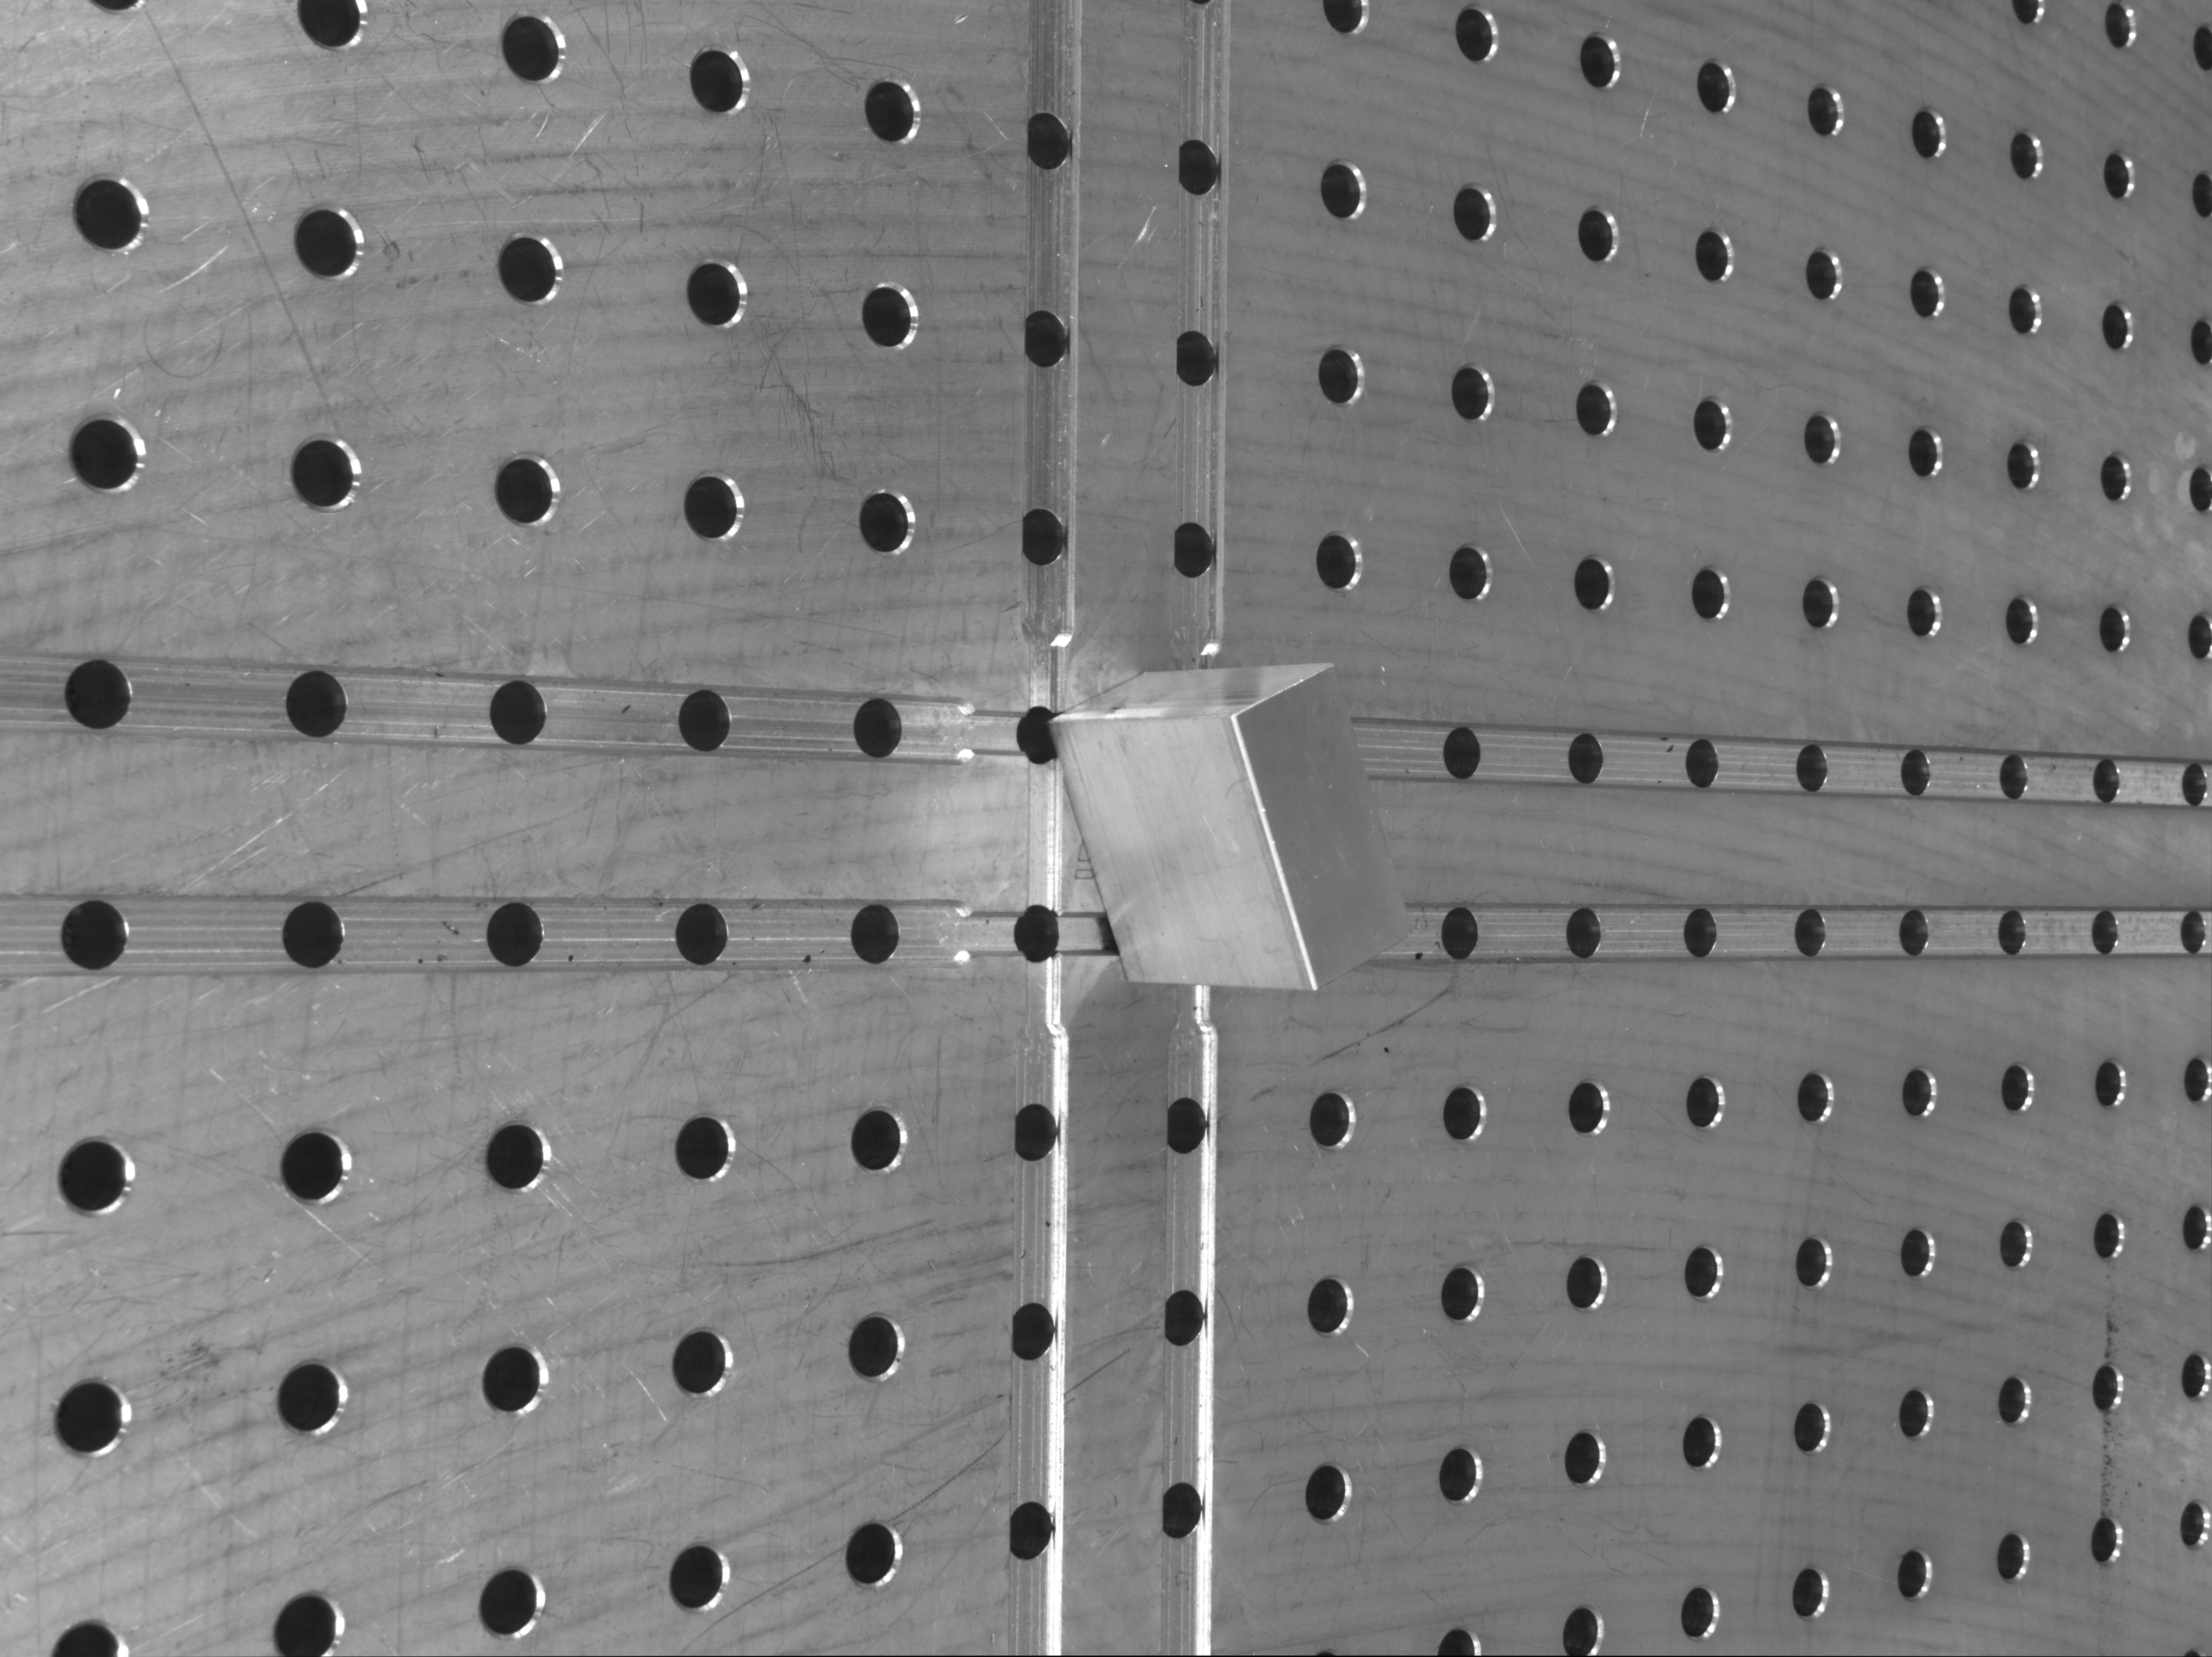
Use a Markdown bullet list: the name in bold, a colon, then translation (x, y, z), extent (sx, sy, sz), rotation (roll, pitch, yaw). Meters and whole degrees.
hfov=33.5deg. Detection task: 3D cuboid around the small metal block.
- **small metal block**: translation (0.021, 0.000, 0.640), extent (0.025, 0.050, 0.050), rotation (-28, 108, -36)
